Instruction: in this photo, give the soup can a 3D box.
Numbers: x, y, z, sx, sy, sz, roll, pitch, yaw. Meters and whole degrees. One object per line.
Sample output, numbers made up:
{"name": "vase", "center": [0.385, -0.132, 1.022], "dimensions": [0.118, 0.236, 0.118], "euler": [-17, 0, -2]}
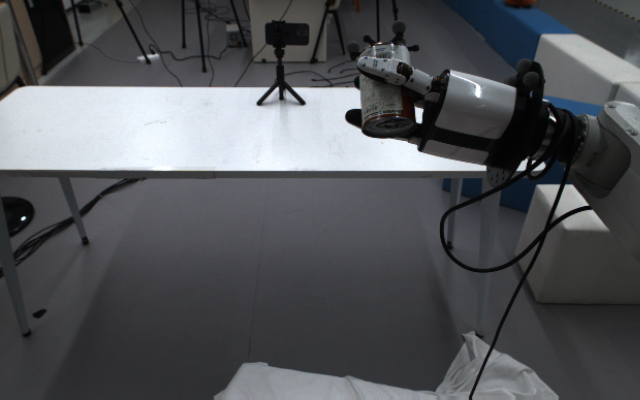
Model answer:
{"name": "soup can", "center": [0.083, -0.139, 0.611], "dimensions": [0.067, 0.067, 0.101], "euler": [-1, 77, -4]}
